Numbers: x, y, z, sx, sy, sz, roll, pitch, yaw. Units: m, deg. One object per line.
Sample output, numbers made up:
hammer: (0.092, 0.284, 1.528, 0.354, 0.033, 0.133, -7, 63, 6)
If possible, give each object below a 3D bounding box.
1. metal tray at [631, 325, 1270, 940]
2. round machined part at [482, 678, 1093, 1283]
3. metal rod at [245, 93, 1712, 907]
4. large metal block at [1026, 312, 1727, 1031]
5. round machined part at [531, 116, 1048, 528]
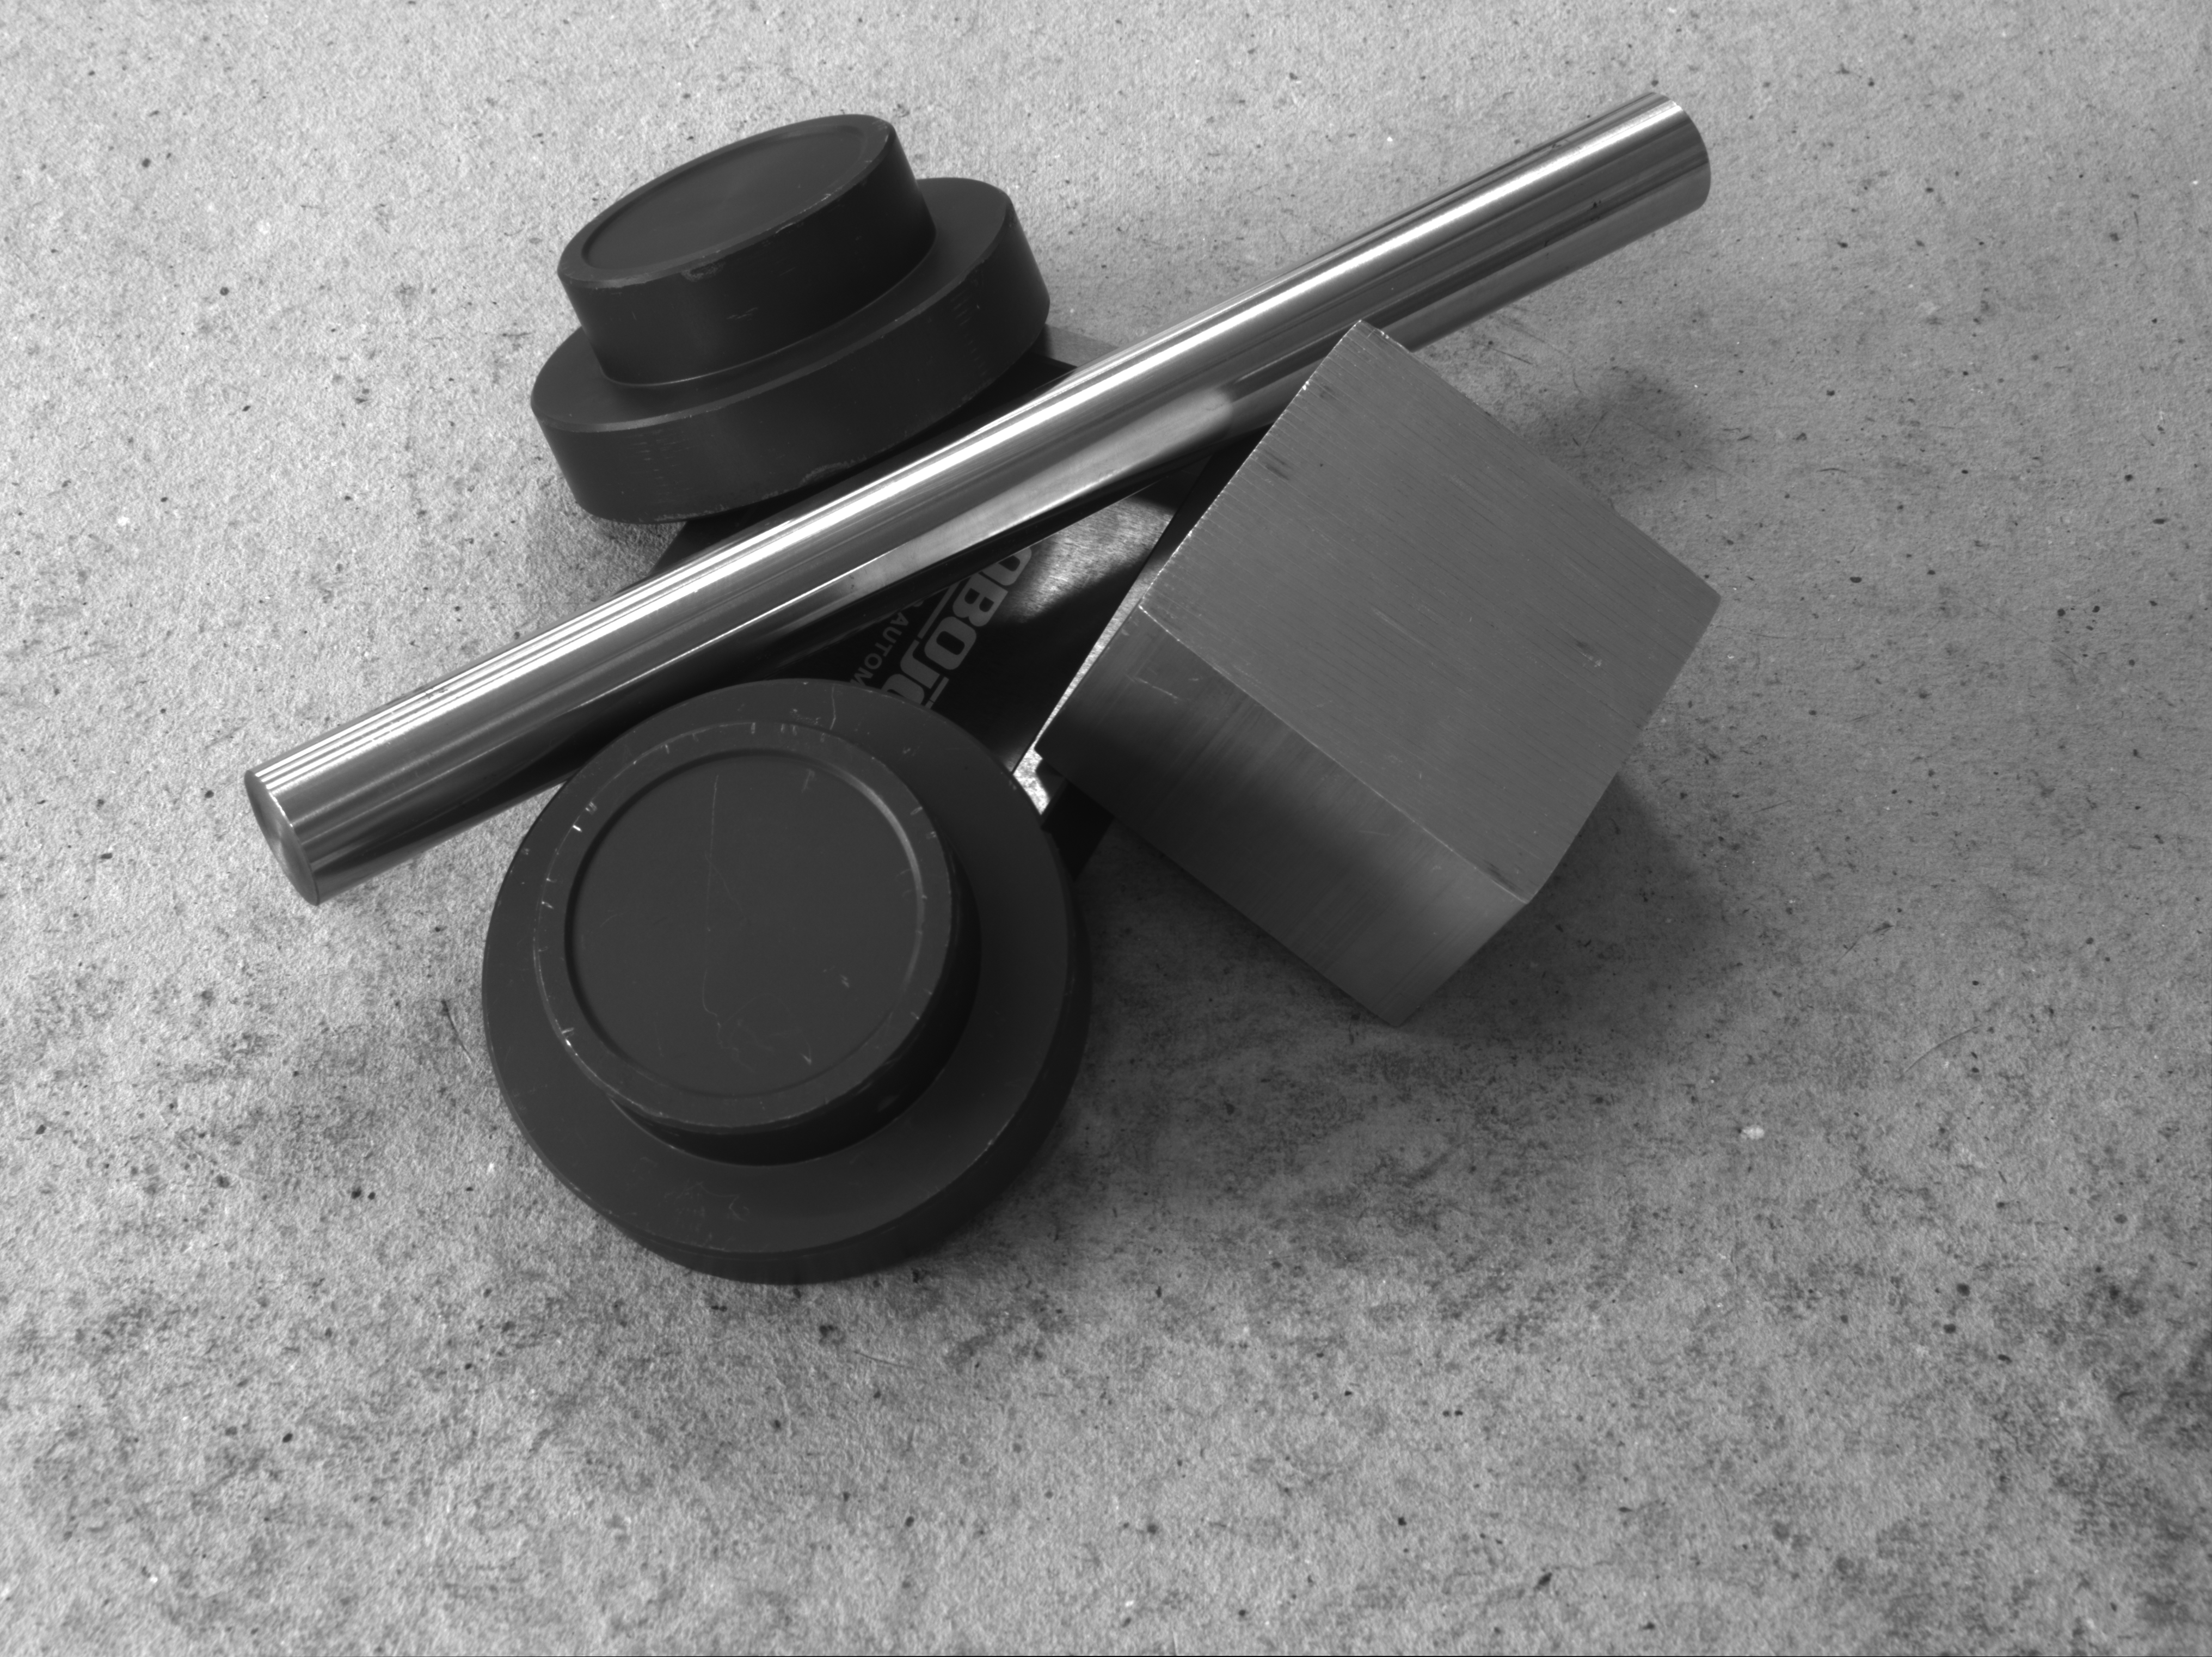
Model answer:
metal tray: (-0.031, -0.040, 0.673, 0.090, 0.030, 0.130, 19, 53, 16)
round machined part: (-0.053, 0.021, 0.592, 0.098, 0.042, 0.098, -2, 70, 7)
metal rod: (-0.013, -0.065, 0.659, 0.301, 0.025, 0.025, -29, 55, -22)
large metal block: (0.047, -0.027, 0.631, 0.080, 0.050, 0.080, 37, 55, -1)
round machined part: (-0.064, -0.100, 0.690, 0.098, 0.042, 0.098, -18, 27, 10)
